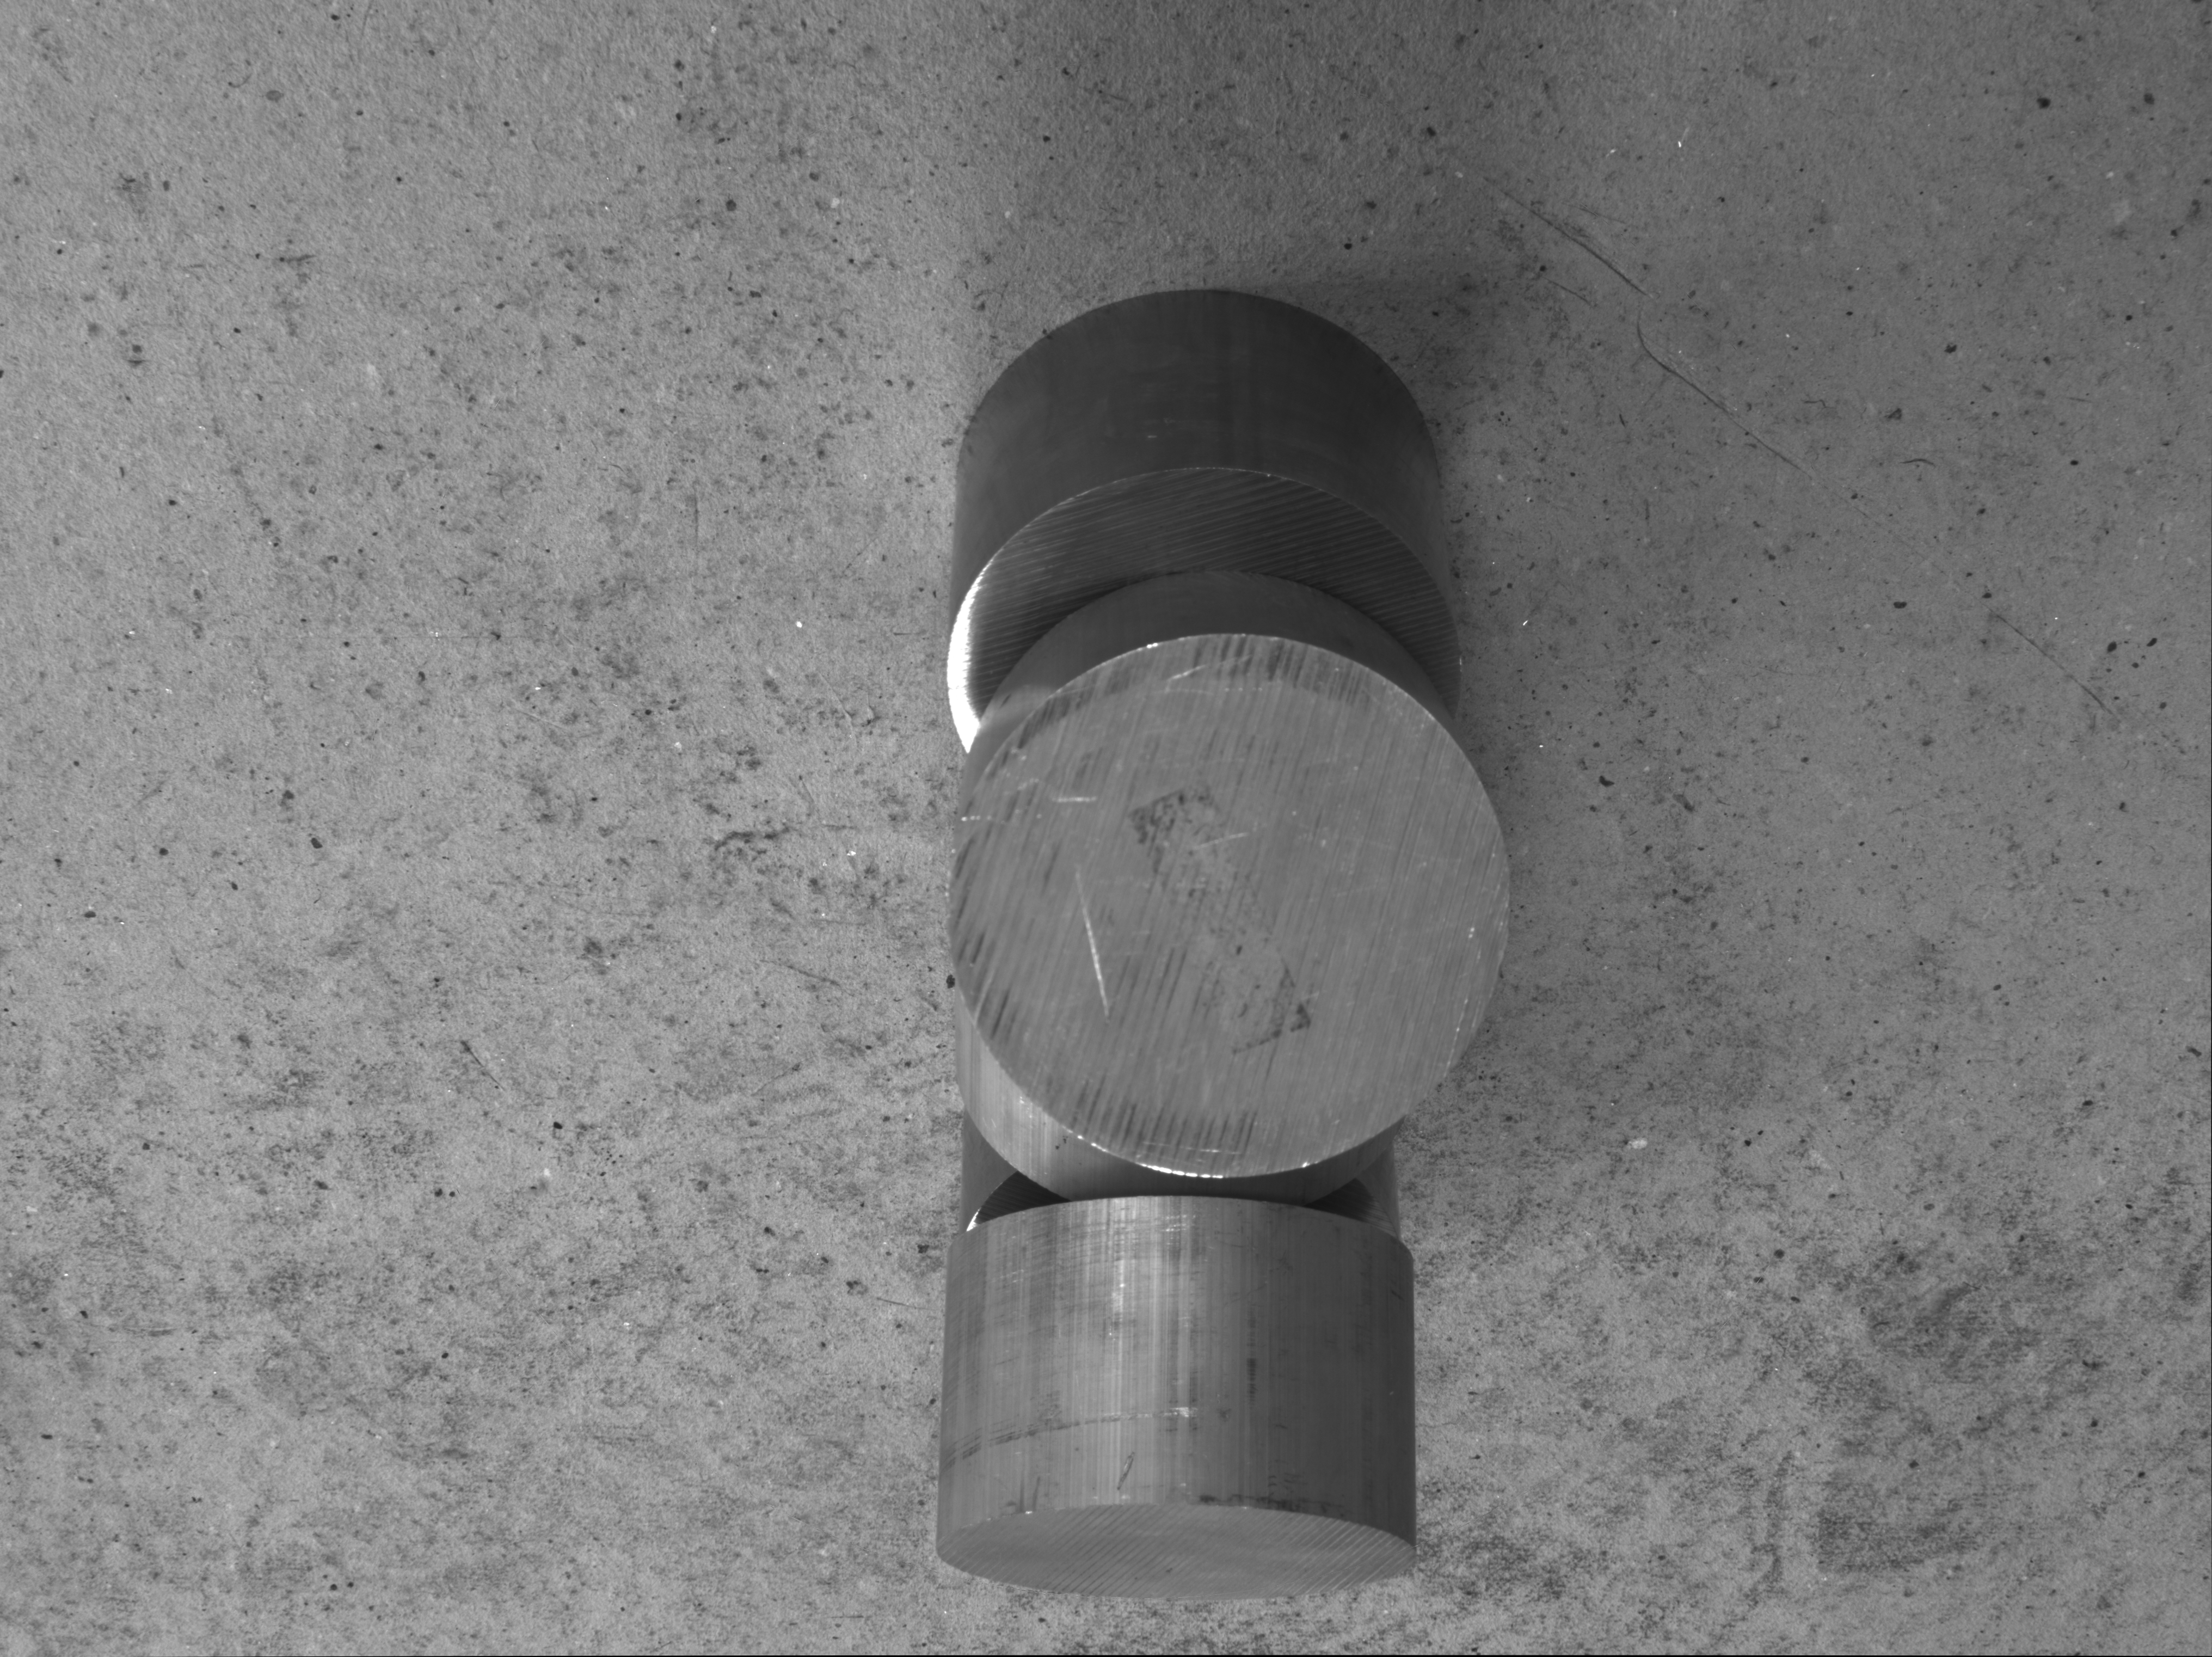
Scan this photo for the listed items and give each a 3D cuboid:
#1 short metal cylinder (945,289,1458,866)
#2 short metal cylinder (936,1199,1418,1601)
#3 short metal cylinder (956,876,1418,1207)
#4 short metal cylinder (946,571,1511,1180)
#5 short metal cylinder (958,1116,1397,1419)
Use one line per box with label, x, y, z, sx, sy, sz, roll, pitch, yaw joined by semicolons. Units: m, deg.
short metal cylinder;0.015;-0.039;0.591;0.080;0.050;0.080;0;130;0
short metal cylinder;0.012;0.098;0.619;0.080;0.050;0.080;1;158;1
short metal cylinder;0.014;0.021;0.622;0.080;0.080;0.050;1;130;-1
short metal cylinder;0.017;0.006;0.543;0.080;0.050;0.080;0;105;-1
short metal cylinder;0.013;0.065;0.678;0.080;0.050;0.080;0;130;0
